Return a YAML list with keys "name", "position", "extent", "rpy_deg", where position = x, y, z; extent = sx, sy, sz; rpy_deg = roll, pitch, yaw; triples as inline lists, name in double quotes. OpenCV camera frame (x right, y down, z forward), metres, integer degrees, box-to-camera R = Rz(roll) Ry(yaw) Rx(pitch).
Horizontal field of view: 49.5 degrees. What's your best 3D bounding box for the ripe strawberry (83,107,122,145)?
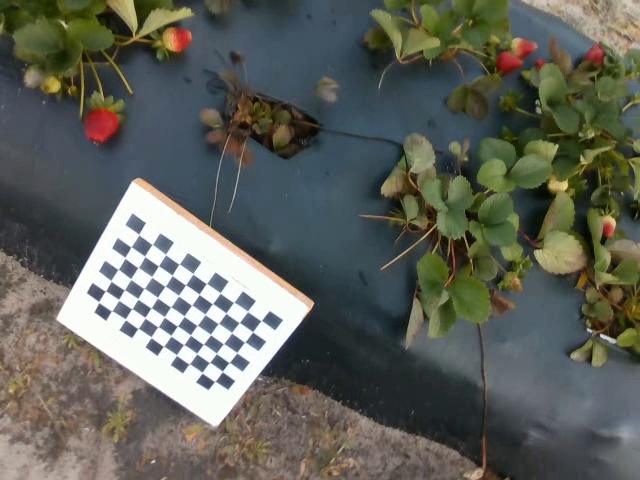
- name: "ripe strawberry"
  position: [-0.279, -0.139, 0.868]
  extent: [0.045, 0.055, 0.042]
  rpy_deg: [-8, -41, 21]
